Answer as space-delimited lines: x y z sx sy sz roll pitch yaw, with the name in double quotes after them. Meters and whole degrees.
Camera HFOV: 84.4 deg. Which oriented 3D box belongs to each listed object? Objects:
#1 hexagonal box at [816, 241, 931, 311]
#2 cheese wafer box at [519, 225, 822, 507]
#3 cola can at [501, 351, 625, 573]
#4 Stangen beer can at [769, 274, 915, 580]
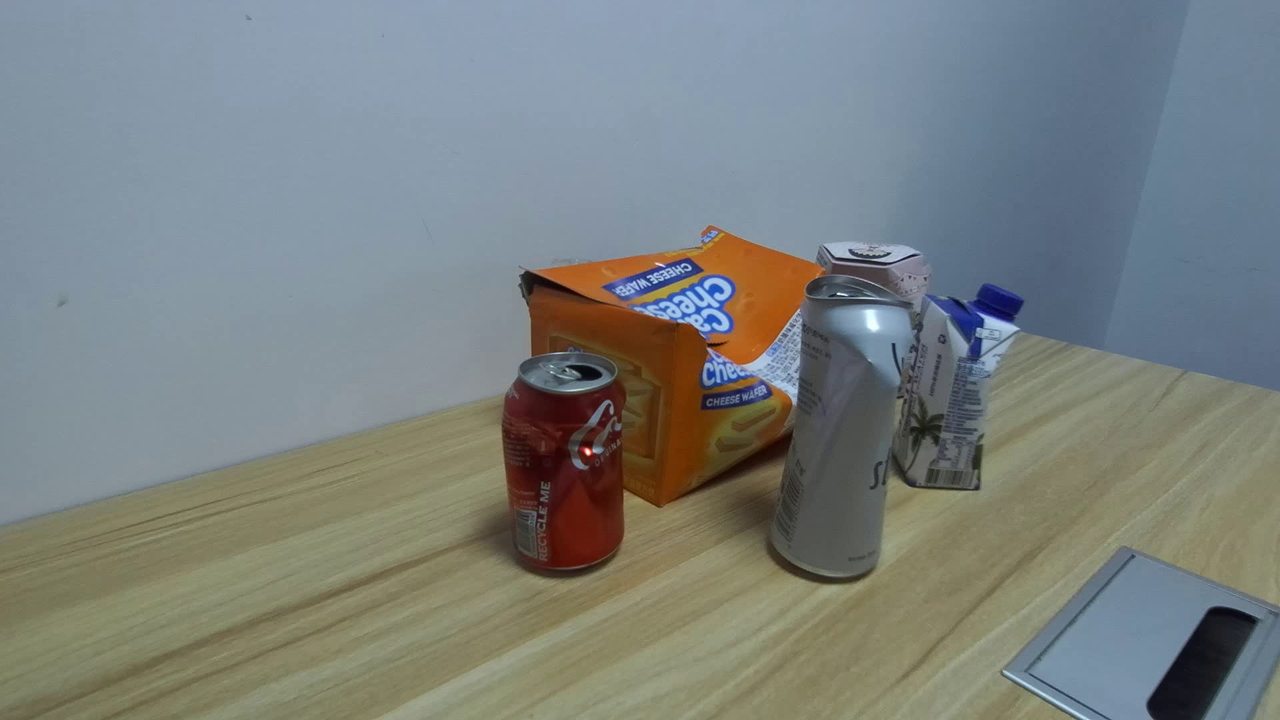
0.203 -0.034 0.636 0.090 0.134 0.091 -9 23 -18 "hexagonal box"
0.051 -0.009 0.550 0.190 0.145 0.220 18 27 42 "cheese wafer box"
-0.041 0.057 0.402 0.066 0.117 0.066 4 21 5 "cola can"
0.111 0.039 0.392 0.076 0.162 0.066 19 27 40 "Stangen beer can"
